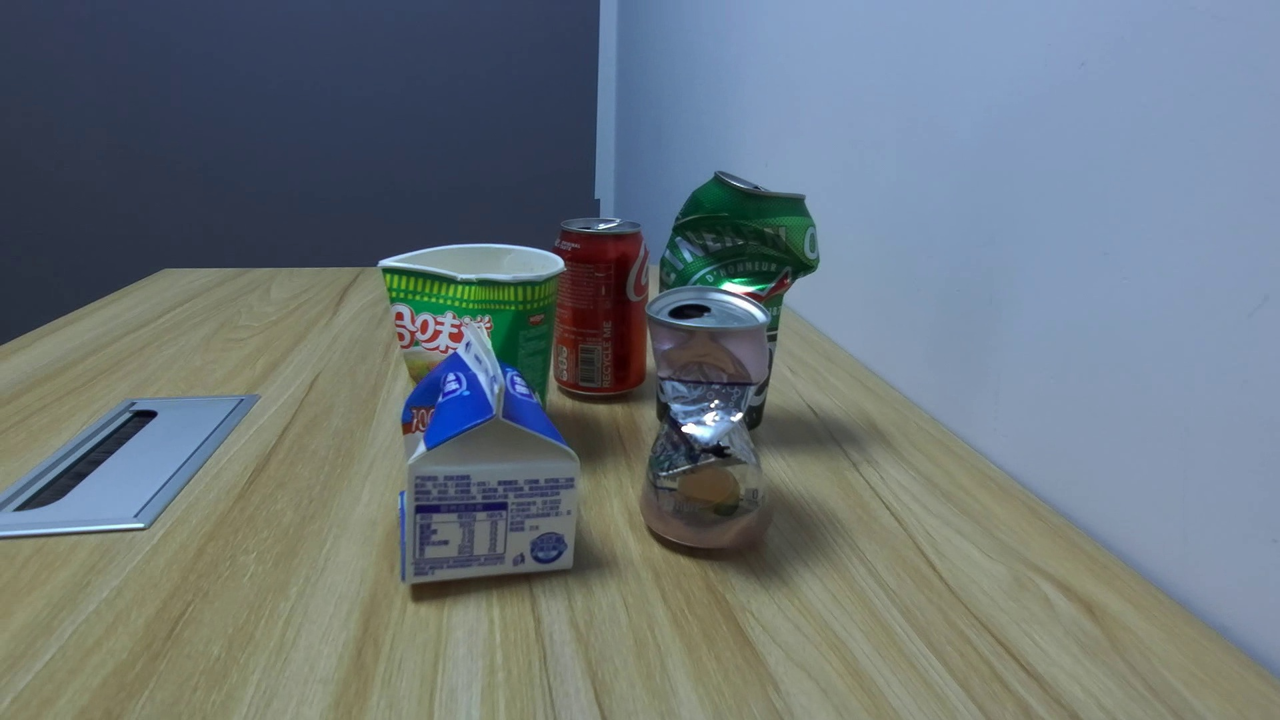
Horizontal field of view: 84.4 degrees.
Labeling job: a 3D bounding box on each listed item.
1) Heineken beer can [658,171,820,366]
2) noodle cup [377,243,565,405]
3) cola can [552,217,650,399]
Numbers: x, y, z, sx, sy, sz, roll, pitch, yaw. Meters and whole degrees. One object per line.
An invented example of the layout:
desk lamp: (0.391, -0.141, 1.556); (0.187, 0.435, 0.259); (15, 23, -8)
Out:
Heineken beer can: (0.049, -0.027, 0.417); (0.079, 0.159, 0.067); (4, 22, -13)
noodle cup: (-0.087, -0.005, 0.411); (0.093, 0.109, 0.087); (17, 25, 34)
cola can: (-0.026, -0.029, 0.486); (0.068, 0.120, 0.068); (0, 3, 0)
